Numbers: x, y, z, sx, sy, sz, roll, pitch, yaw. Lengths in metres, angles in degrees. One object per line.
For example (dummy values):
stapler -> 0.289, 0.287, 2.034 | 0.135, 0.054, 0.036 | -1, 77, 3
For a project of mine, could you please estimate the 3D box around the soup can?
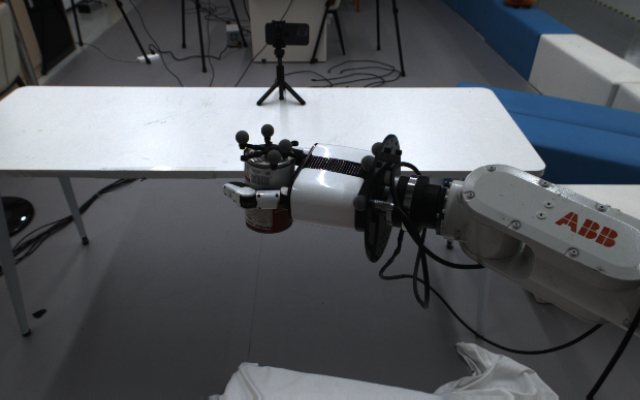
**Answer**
soup can -> -0.066, -0.014, 0.648 | 0.067, 0.101, 0.067 | 3, 30, -2
